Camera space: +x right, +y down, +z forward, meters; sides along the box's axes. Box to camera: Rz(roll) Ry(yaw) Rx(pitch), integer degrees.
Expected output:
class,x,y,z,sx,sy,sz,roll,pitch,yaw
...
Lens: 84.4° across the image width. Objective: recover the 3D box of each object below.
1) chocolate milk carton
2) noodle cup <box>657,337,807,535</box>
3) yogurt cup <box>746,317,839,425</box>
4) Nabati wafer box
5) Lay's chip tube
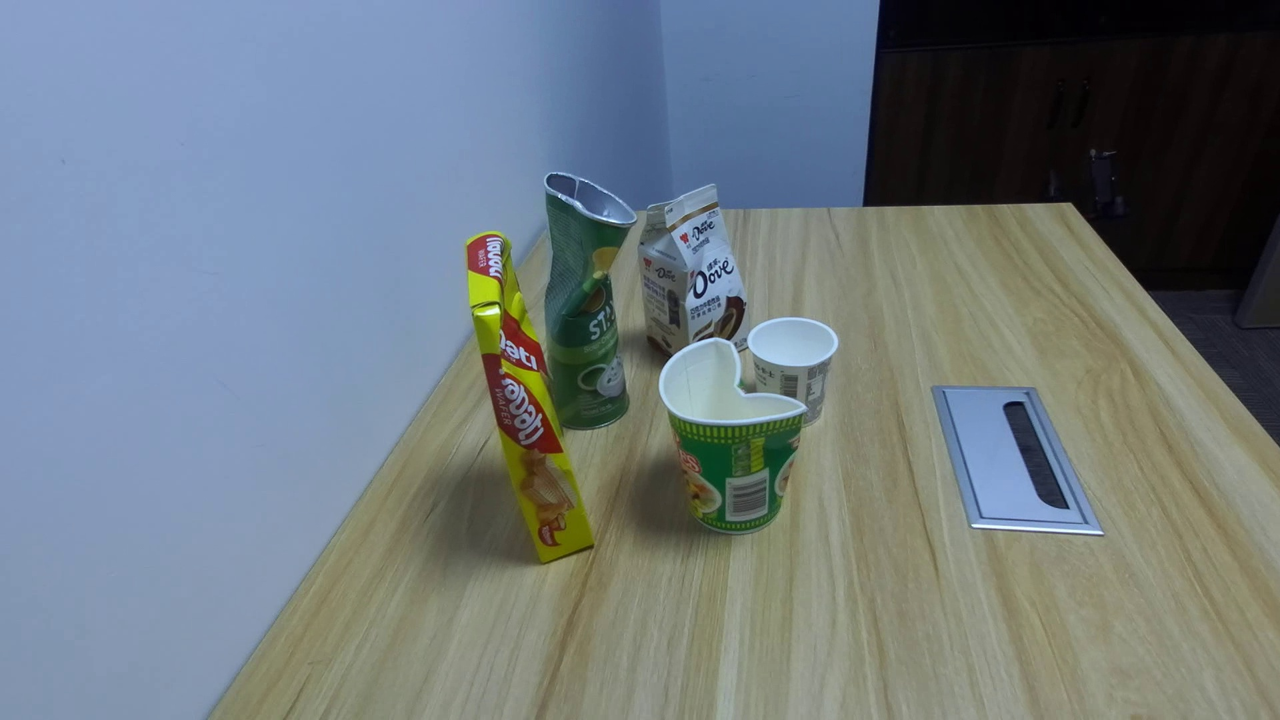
class,x,y,z,sx,sy,sz,roll,pitch,yaw
chocolate milk carton,0.051,-0.078,0.637,0.084,0.155,0.072,-23,37,-25
noodle cup,0.060,0.055,0.476,0.087,0.110,0.093,-7,34,0
yogurt cup,0.121,0.012,0.566,0.072,0.068,0.072,-4,35,3
Nabati wafer box,-0.074,0.028,0.458,0.043,0.205,0.113,-16,36,-12
Lay's chip tube,-0.040,-0.041,0.564,0.071,0.199,0.079,-2,36,-7
